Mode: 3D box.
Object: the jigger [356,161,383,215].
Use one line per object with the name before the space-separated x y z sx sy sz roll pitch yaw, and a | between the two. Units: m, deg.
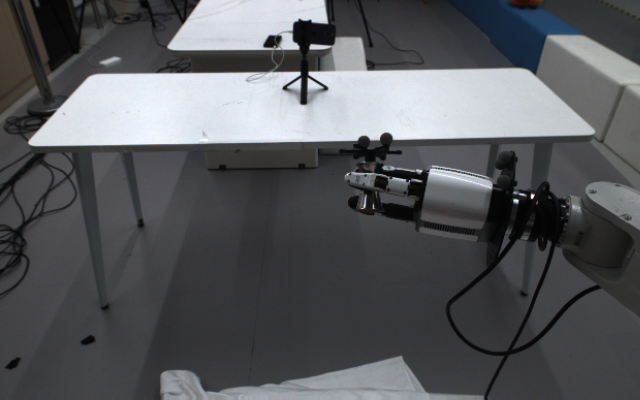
jigger | 0.068 -0.019 0.688 0.043 0.071 0.043 3 -6 0
